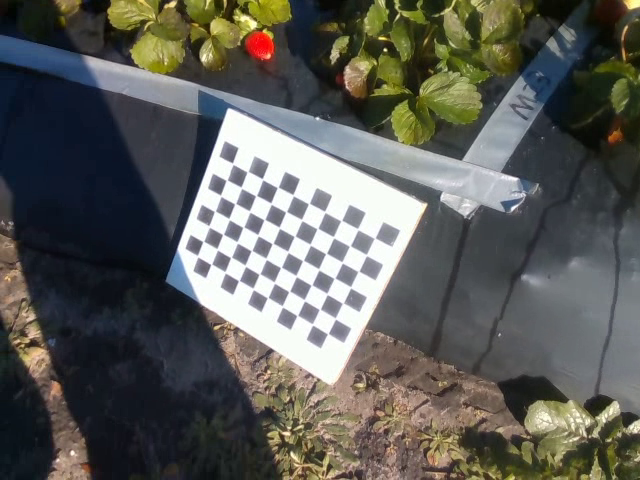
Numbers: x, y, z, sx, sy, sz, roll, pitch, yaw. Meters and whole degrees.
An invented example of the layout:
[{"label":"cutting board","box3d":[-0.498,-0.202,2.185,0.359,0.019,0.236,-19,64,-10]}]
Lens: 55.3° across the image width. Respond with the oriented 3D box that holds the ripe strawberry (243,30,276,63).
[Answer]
[{"label":"ripe strawberry","box3d":[-0.081,-0.278,0.867,0.045,0.059,0.042,-38,-26,21]}]
